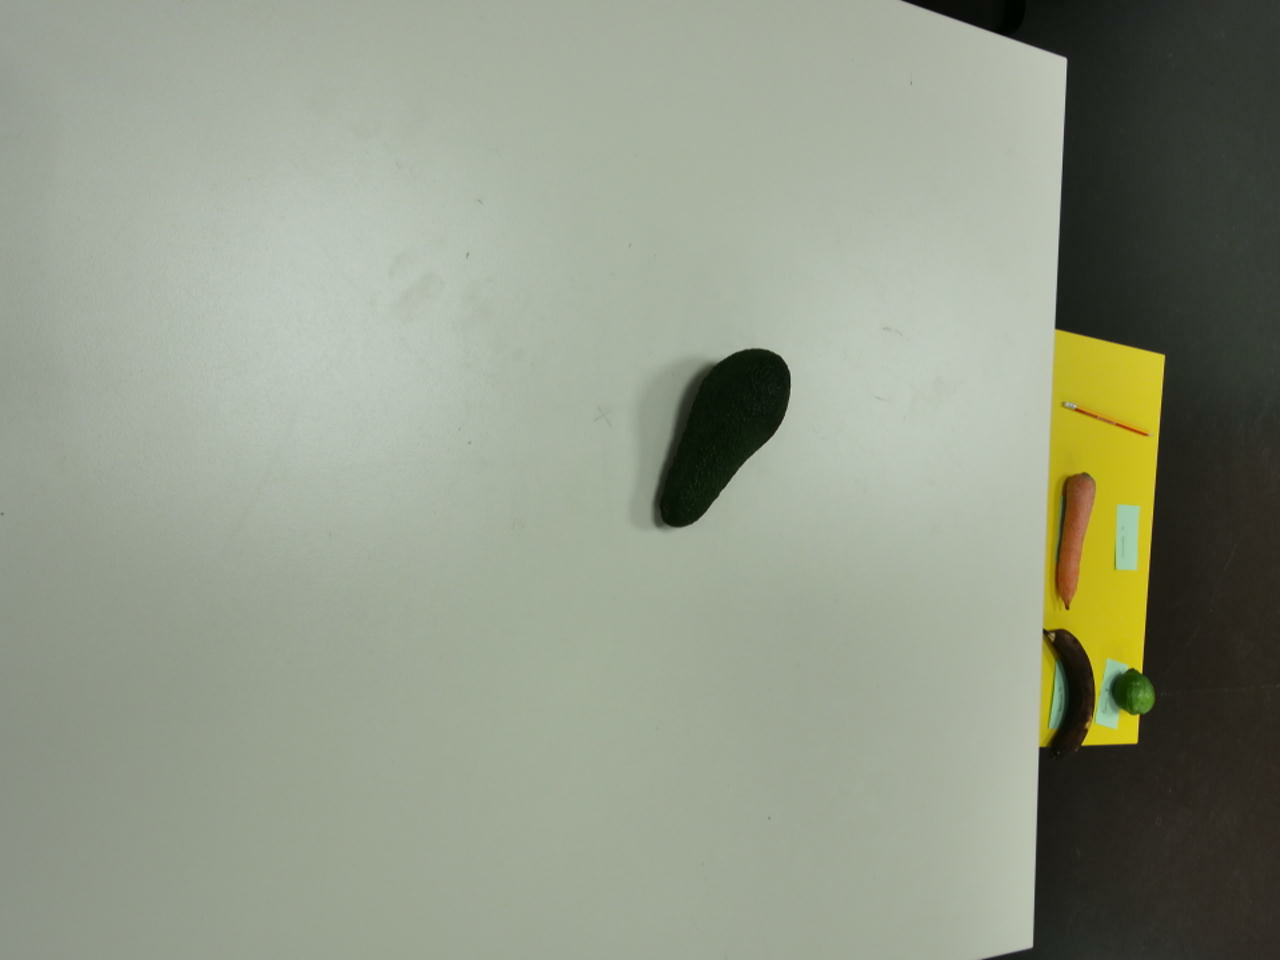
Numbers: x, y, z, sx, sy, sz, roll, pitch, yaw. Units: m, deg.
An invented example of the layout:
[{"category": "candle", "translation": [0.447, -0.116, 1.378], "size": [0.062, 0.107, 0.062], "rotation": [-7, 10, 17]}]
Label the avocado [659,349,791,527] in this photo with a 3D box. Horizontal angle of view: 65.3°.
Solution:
[{"category": "avocado", "translation": [0.063, -0.028, 0.698], "size": [0.063, 0.067, 0.141], "rotation": [21, 81, -27]}]
